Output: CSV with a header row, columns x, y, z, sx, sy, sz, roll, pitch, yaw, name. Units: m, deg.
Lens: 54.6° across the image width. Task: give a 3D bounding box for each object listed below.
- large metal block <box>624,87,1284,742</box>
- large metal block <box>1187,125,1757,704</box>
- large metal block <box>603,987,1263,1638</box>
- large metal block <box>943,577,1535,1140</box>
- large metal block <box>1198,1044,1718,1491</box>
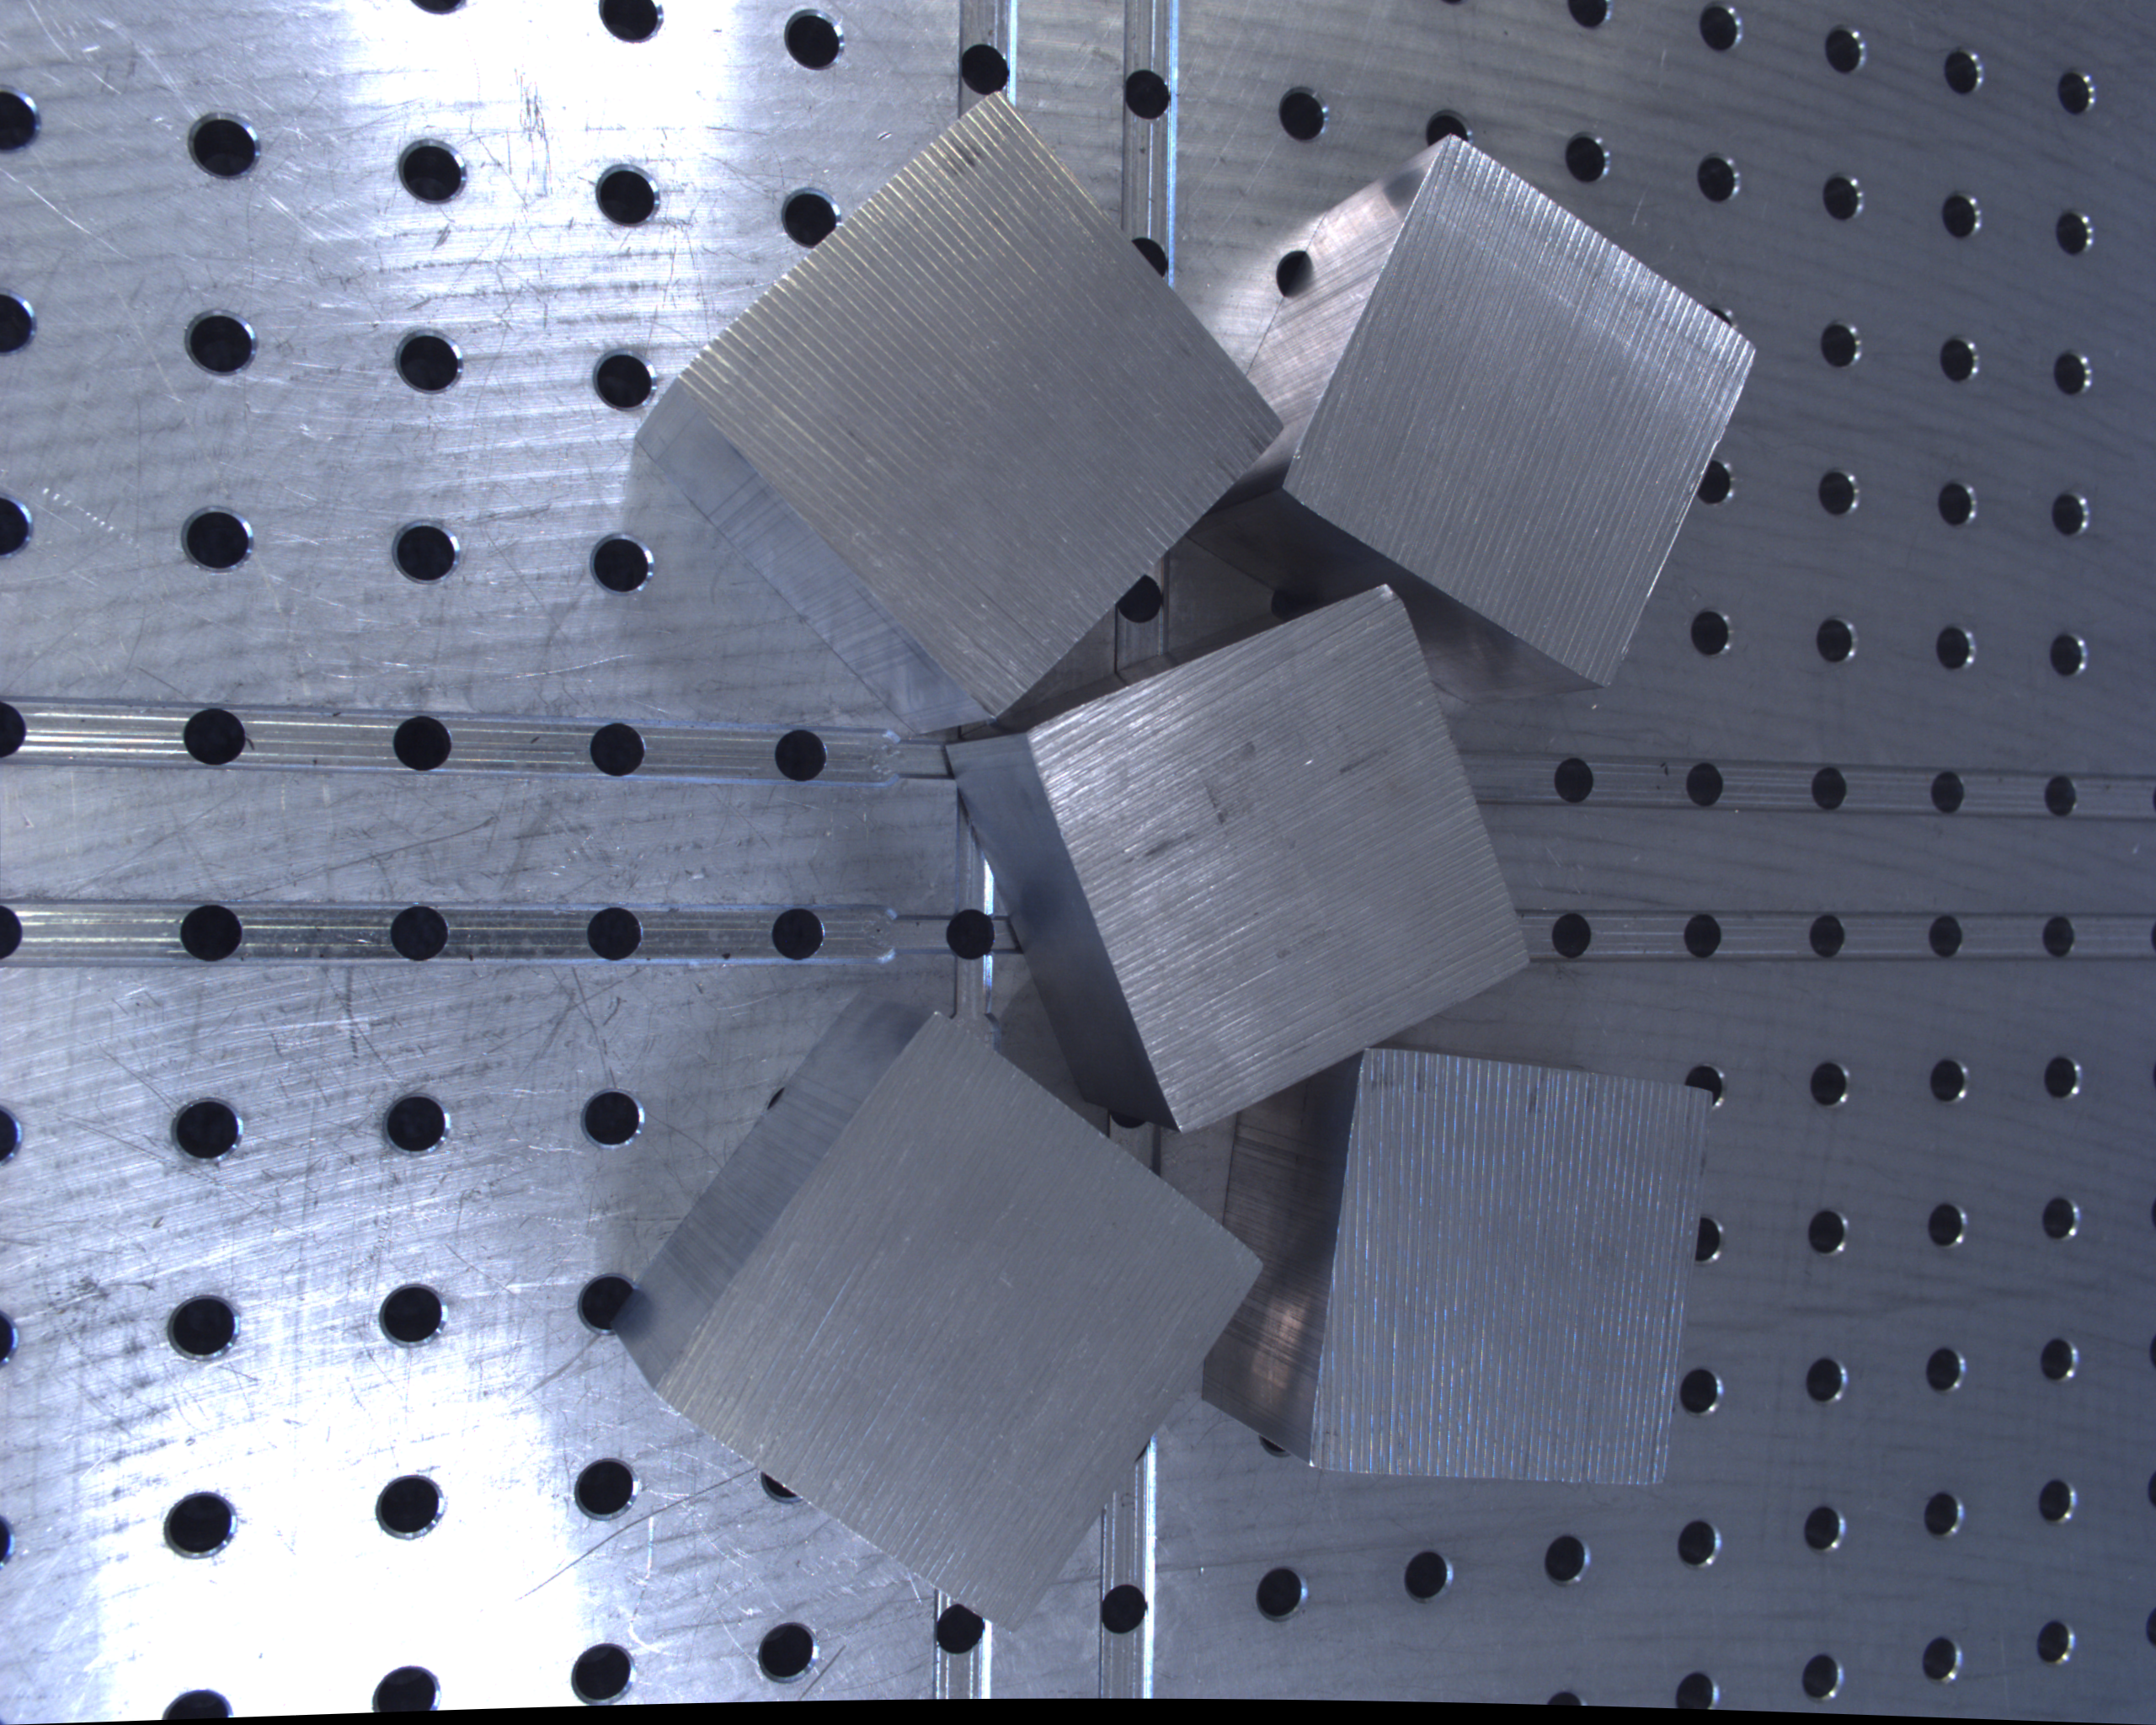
x,y,z,sx,sy,sz,roll,pitch,yaw,name
-0.024,-0.080,0.390,0.080,0.050,0.080,-46,104,-14,large metal block
0.078,-0.087,0.427,0.080,0.050,0.080,28,81,-21,large metal block
-0.028,0.080,0.387,0.080,0.050,0.080,39,77,-16,large metal block
0.031,-0.002,0.409,0.081,0.050,0.080,-24,98,-18,large metal block
0.077,0.080,0.427,0.081,0.050,0.080,10,87,-20,large metal block
